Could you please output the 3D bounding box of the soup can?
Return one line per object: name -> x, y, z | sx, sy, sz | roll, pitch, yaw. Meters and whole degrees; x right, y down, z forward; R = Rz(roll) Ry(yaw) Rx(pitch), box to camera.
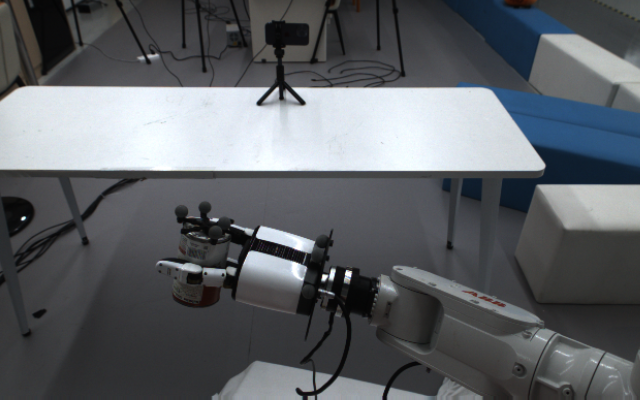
soup can -> -0.161, 0.088, 0.662 | 0.067, 0.101, 0.067 | 13, 18, -4
